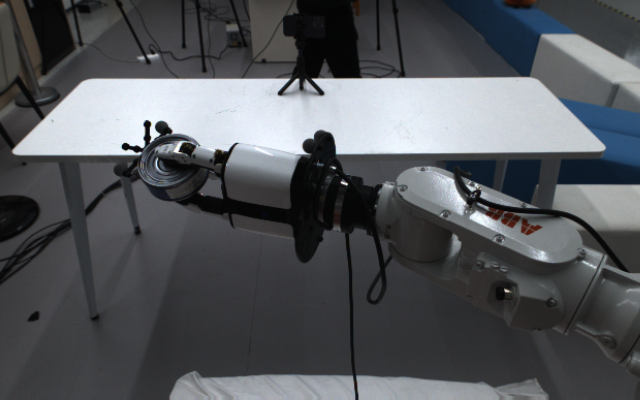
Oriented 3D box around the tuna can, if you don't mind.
[{"bbox_3d":[-0.186,-0.039,0.623,0.085,0.034,0.085,-1,62,3],"label":"tuna can"}]
